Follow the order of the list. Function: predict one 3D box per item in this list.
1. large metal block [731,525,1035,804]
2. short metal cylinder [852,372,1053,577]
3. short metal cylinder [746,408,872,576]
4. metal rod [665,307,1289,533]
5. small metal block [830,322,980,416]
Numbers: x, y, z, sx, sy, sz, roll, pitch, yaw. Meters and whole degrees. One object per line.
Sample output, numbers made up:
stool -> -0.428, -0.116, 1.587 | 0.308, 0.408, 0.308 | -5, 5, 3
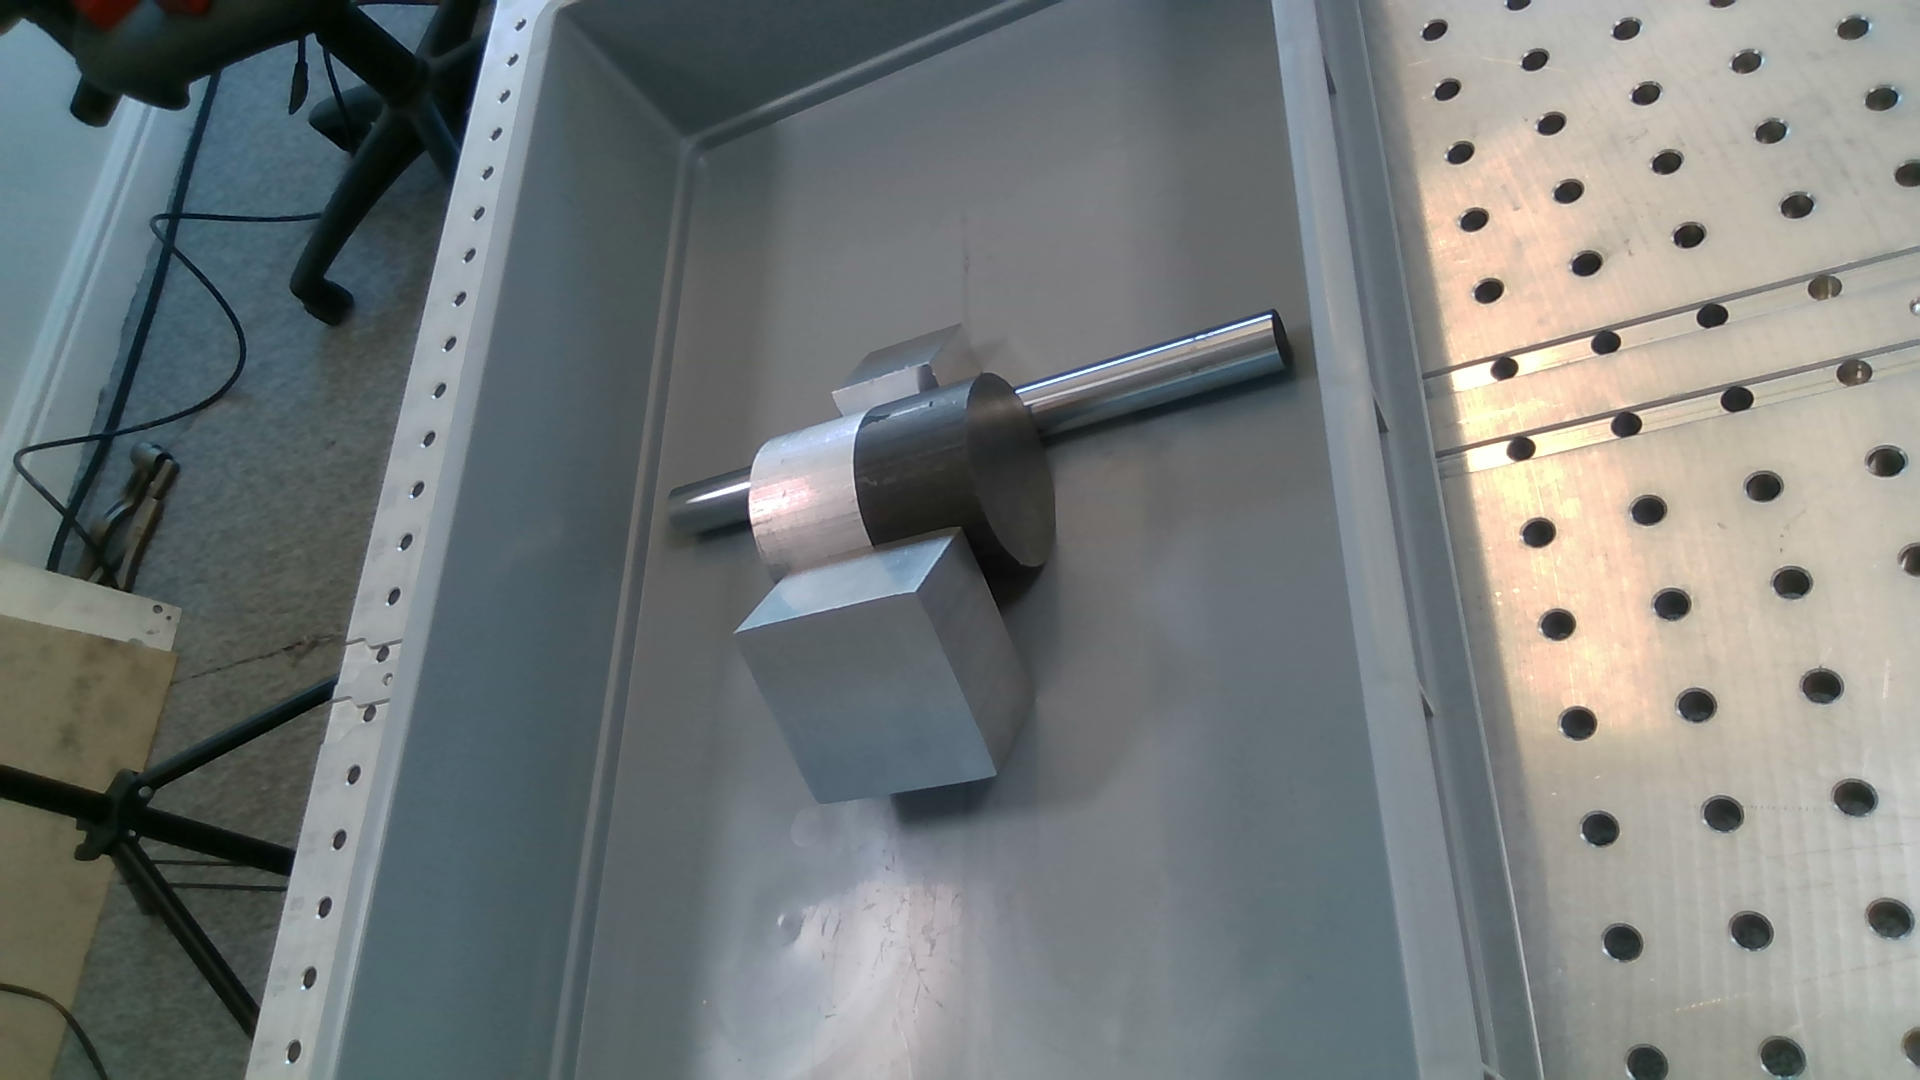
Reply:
large metal block -> -0.028, 0.049, 0.530 | 0.080, 0.080, 0.050 | -14, 21, 26
short metal cylinder -> -0.001, -0.023, 0.561 | 0.050, 0.080, 0.080 | -14, 59, 25
short metal cylinder -> -0.046, -0.012, 0.583 | 0.050, 0.080, 0.080 | -14, 59, 25
metal rod -> -0.005, -0.048, 0.611 | 0.300, 0.025, 0.025 | -14, 59, 25
small metal block -> -0.024, -0.071, 0.622 | 0.050, 0.025, 0.050 | -14, 24, 24
